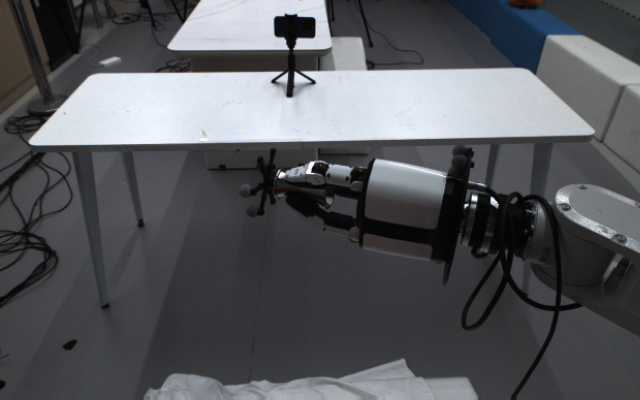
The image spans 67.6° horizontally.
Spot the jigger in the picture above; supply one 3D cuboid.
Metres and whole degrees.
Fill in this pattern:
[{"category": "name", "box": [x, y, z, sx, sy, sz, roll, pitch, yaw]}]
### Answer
[{"category": "jigger", "box": [-0.015, -0.021, 0.601, 0.071, 0.043, 0.043, 9, 35, 16]}]
